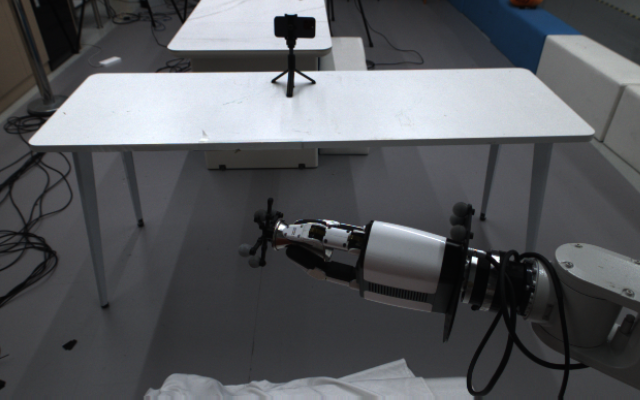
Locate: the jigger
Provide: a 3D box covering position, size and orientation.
[{"bbox_3d":[-0.013,0.045,0.597,0.071,0.043,0.043,9,35,16],"label":"jigger"}]
